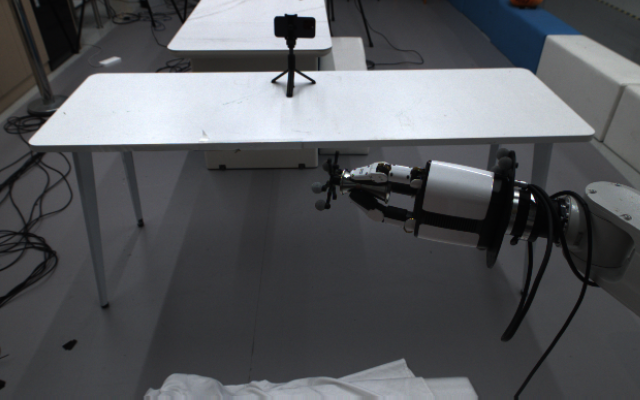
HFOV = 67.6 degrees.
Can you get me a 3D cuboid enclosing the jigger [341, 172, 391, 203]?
[{"bbox_3d":[0.073,-0.026,0.695,0.071,0.043,0.043,9,35,16],"label":"jigger"}]
